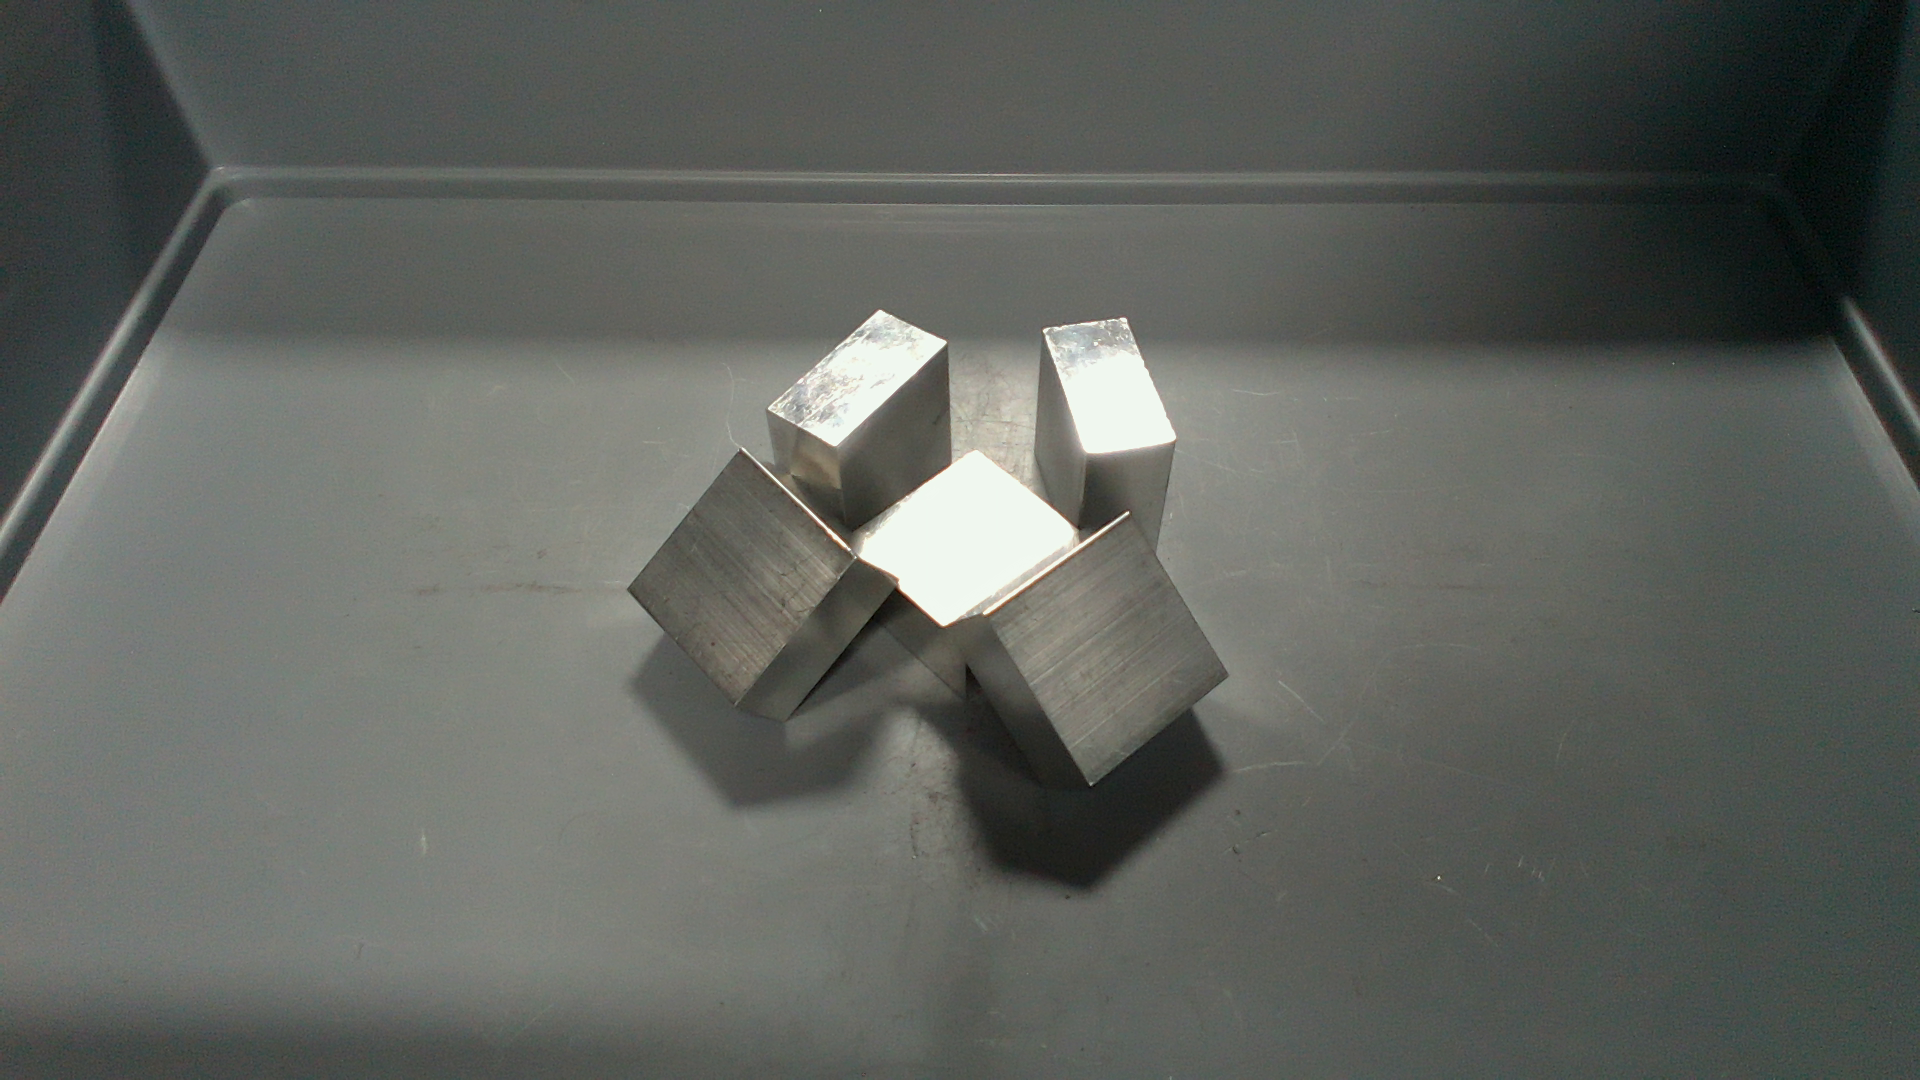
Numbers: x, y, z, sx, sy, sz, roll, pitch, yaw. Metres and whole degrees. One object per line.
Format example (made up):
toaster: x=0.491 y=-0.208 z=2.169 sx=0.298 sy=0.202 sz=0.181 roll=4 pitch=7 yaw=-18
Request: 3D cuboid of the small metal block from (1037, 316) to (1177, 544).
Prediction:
small metal block: x=0.040 y=-0.028 z=0.396 sx=0.025 sy=0.050 sz=0.050 roll=-8 pitch=50 yaw=-8

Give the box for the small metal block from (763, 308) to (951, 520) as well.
small metal block: x=-0.028 y=-0.030 z=0.398 sx=0.025 sy=0.050 sz=0.050 roll=29 pitch=56 yaw=23

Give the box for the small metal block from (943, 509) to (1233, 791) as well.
small metal block: x=0.033 y=0.028 z=0.349 sx=0.050 sy=0.025 sz=0.050 roll=-34 pitch=94 yaw=-25

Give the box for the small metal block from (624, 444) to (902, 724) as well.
small metal block: x=-0.053 y=0.012 z=0.365 sx=0.050 sy=0.025 sz=0.050 roll=41 pitch=94 yaw=29

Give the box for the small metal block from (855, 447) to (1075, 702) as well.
small metal block: x=0.003 y=0.008 z=0.382 sx=0.050 sy=0.025 sz=0.050 roll=-35 pitch=58 yaw=-26
